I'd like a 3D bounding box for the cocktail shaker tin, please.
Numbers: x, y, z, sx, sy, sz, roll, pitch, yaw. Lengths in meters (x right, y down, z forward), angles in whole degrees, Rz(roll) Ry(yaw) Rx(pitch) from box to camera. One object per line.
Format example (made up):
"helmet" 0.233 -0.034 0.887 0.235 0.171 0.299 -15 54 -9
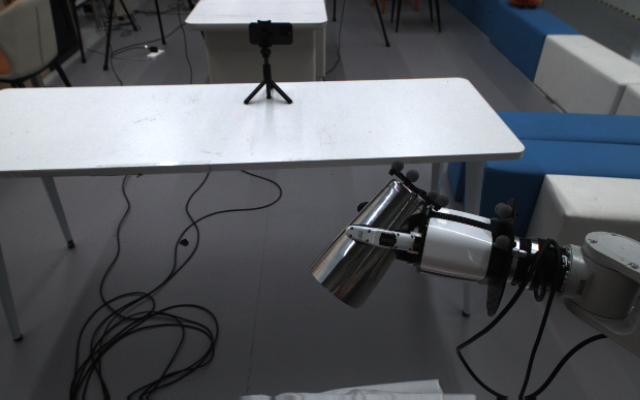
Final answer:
"cocktail shaker tin" 0.074 0.053 0.676 0.170 0.093 0.093 -50 46 4
